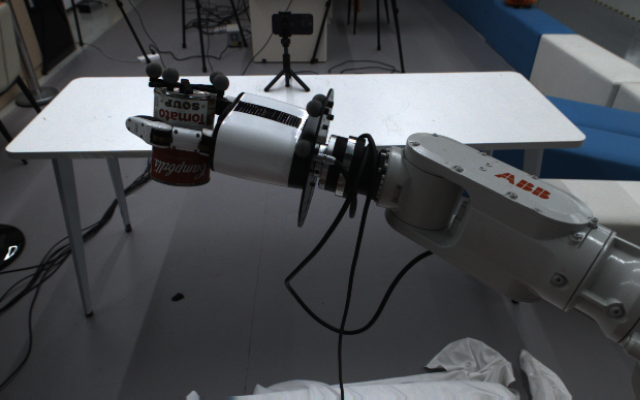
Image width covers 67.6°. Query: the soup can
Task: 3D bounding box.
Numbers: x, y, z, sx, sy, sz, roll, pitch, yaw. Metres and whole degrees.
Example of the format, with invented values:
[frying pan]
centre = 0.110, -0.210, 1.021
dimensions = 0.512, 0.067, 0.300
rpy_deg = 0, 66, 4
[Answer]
[soup can]
centre = -0.154, -0.073, 0.549
dimensions = 0.067, 0.101, 0.067
rpy_deg = 8, 19, -3
